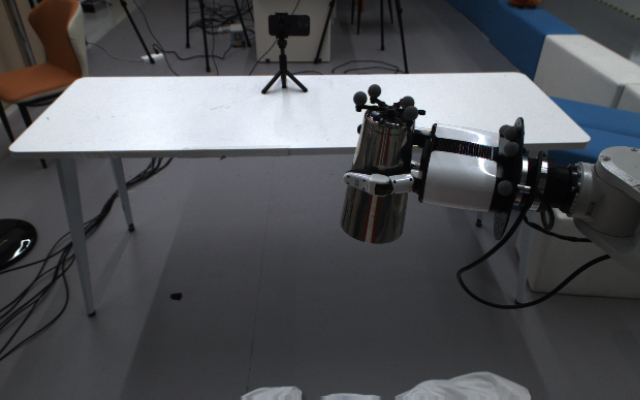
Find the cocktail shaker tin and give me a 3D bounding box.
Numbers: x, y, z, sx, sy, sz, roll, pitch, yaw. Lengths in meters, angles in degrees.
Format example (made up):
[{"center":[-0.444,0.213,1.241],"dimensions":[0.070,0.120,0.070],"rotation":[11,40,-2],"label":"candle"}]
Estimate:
[{"center":[0.083,-0.037,0.661],"dimensions":[0.093,0.170,0.093],"rotation":[4,32,-2],"label":"cocktail shaker tin"}]
